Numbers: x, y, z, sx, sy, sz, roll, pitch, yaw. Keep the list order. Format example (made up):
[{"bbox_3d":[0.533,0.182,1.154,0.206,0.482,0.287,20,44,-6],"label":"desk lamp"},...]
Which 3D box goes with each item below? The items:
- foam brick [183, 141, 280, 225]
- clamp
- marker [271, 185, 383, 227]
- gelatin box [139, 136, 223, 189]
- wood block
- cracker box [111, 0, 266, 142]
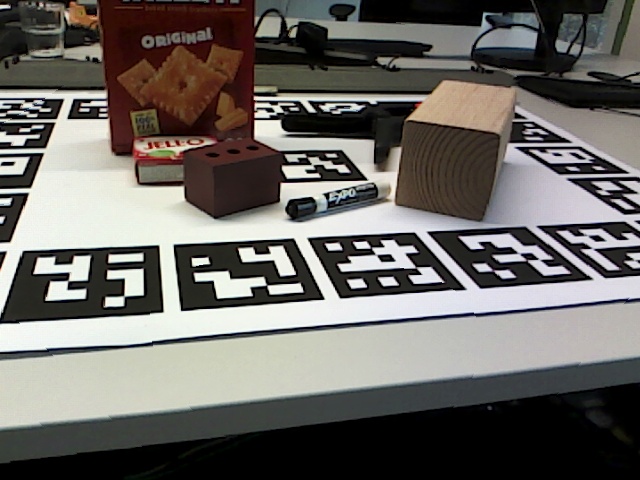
[{"bbox_3d":[-0.085,-0.056,0.589,0.077,0.051,0.053,-19,39,-34],"label":"foam brick"},{"bbox_3d":[0.077,-0.155,0.797,0.202,0.036,0.166,-24,41,-39],"label":"clamp"},{"bbox_3d":[0.008,-0.033,0.591,0.120,0.019,0.020,-15,37,-30],"label":"marker"},{"bbox_3d":[-0.145,-0.084,0.655,0.089,0.030,0.074,-4,33,-14],"label":"gelatin box"},{"bbox_3d":[0.151,-0.101,0.669,0.090,0.091,0.206,12,28,18],"label":"wood block"},{"bbox_3d":[-0.147,-0.220,0.692,0.163,0.213,0.072,-4,30,-18],"label":"cracker box"}]
